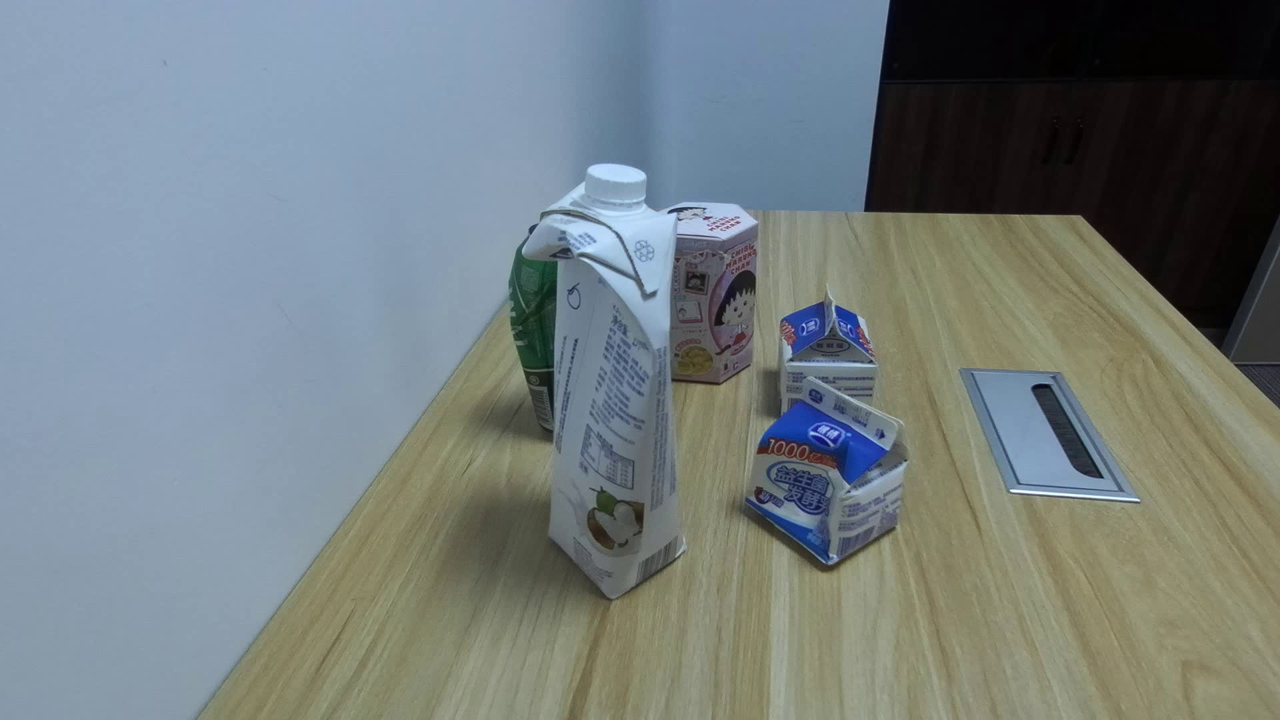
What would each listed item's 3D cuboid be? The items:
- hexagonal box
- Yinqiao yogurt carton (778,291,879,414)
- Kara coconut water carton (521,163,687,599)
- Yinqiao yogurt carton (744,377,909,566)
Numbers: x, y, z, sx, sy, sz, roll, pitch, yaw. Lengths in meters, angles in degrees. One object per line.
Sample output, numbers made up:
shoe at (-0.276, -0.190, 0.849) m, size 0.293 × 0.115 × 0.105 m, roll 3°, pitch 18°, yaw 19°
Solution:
hexagonal box at (0.055, -0.057, 0.605) m, size 0.083 × 0.136 × 0.091 m, roll 23°, pitch 39°, yaw 36°
Yinqiao yogurt carton at (0.149, -0.009, 0.562) m, size 0.073 × 0.092 × 0.075 m, roll 1°, pitch 30°, yaw 8°
Kara coconut water carton at (-0.016, 0.017, 0.391) m, size 0.069 × 0.239 × 0.114 m, roll -22°, pitch 36°, yaw -31°
Yinqiao yogurt carton at (0.120, 0.064, 0.442) m, size 0.071 × 0.094 × 0.077 m, roll -18°, pitch 35°, yaw -33°
